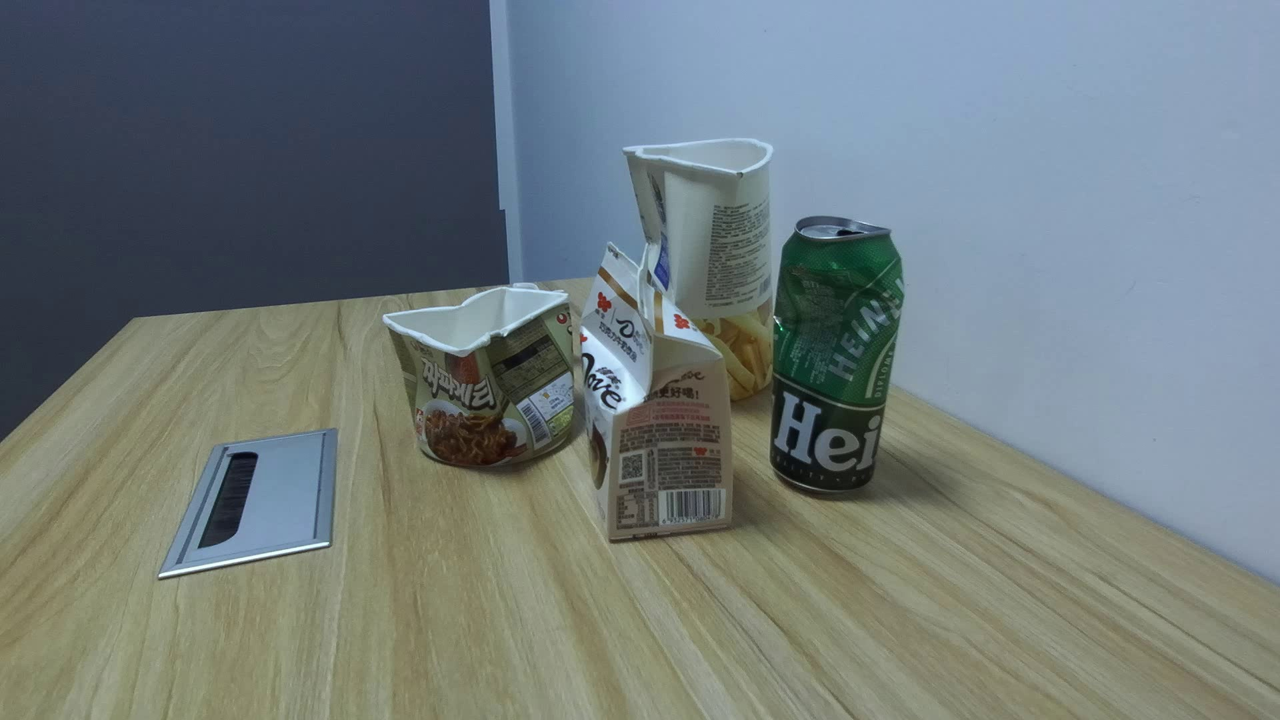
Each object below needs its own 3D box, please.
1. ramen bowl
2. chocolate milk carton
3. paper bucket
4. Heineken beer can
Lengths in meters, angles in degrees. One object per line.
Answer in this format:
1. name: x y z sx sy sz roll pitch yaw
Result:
1. ramen bowl: -0.103 0.008 0.513 0.111 0.093 0.129 17 27 38
2. chocolate milk carton: 0.007 0.014 0.402 0.074 0.155 0.076 -6 22 -10
3. paper bucket: 0.044 -0.080 0.589 0.148 0.199 0.217 -17 26 -37
4. Heineken beer can: 0.116 -0.001 0.432 0.066 0.164 0.077 2 21 7
